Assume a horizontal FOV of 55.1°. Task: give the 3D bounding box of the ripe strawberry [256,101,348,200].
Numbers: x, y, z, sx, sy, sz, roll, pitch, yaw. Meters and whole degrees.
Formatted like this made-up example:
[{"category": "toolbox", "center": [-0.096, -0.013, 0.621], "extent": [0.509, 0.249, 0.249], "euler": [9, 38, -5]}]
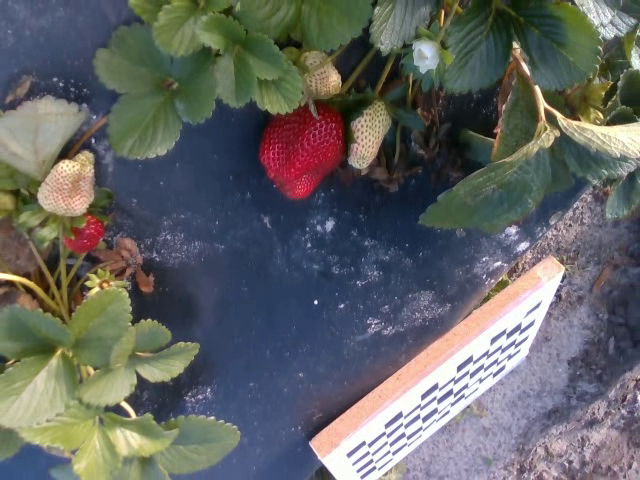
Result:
[{"category": "ripe strawberry", "center": [-0.012, -0.055, 0.385], "extent": [0.057, 0.070, 0.058], "euler": [25, -32, 18]}]
